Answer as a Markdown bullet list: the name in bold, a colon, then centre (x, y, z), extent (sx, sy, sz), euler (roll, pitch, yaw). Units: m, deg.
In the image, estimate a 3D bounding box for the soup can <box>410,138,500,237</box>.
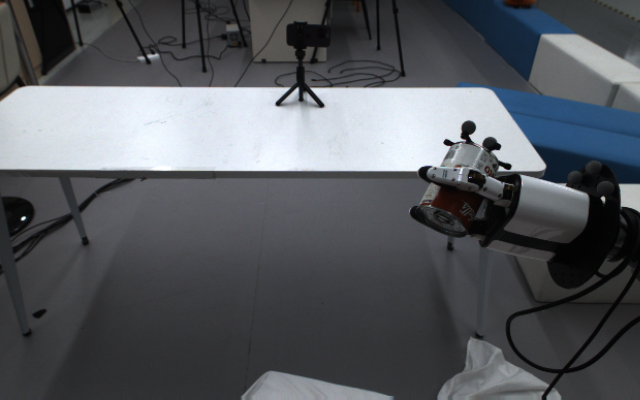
- **soup can**: centre (0.174, -0.014, 0.603), extent (0.067, 0.067, 0.101), euler (22, 71, 26)
